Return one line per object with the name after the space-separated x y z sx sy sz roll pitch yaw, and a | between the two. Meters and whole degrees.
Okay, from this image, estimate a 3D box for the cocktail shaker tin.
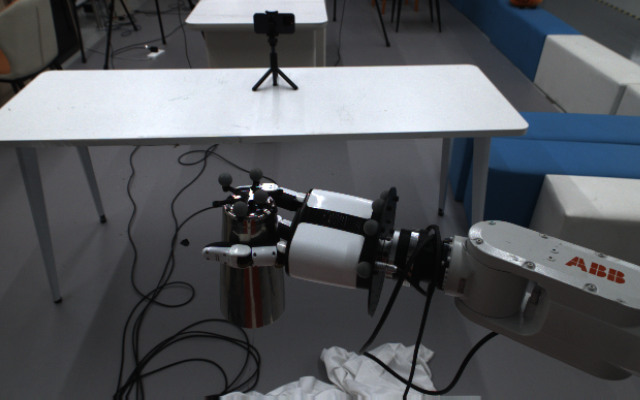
-0.088 0.073 0.641 0.093 0.170 0.093 2 33 -2 | cocktail shaker tin
